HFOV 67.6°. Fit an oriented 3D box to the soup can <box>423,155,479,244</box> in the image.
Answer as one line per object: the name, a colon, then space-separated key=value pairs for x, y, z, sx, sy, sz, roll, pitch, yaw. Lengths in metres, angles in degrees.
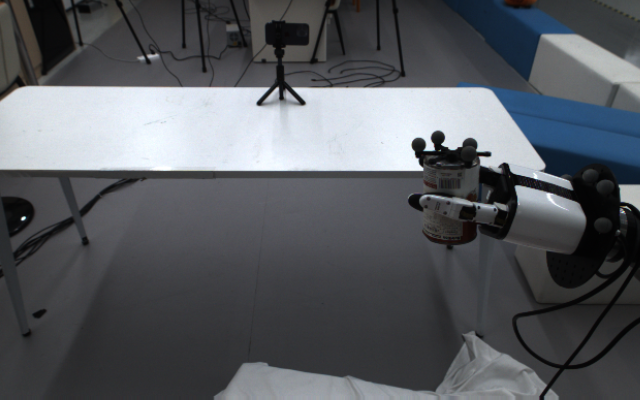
soup can: x=0.164 y=-0.005 z=0.604 sx=0.067 sy=0.101 sz=0.067 roll=-4 pitch=21 yaw=1
